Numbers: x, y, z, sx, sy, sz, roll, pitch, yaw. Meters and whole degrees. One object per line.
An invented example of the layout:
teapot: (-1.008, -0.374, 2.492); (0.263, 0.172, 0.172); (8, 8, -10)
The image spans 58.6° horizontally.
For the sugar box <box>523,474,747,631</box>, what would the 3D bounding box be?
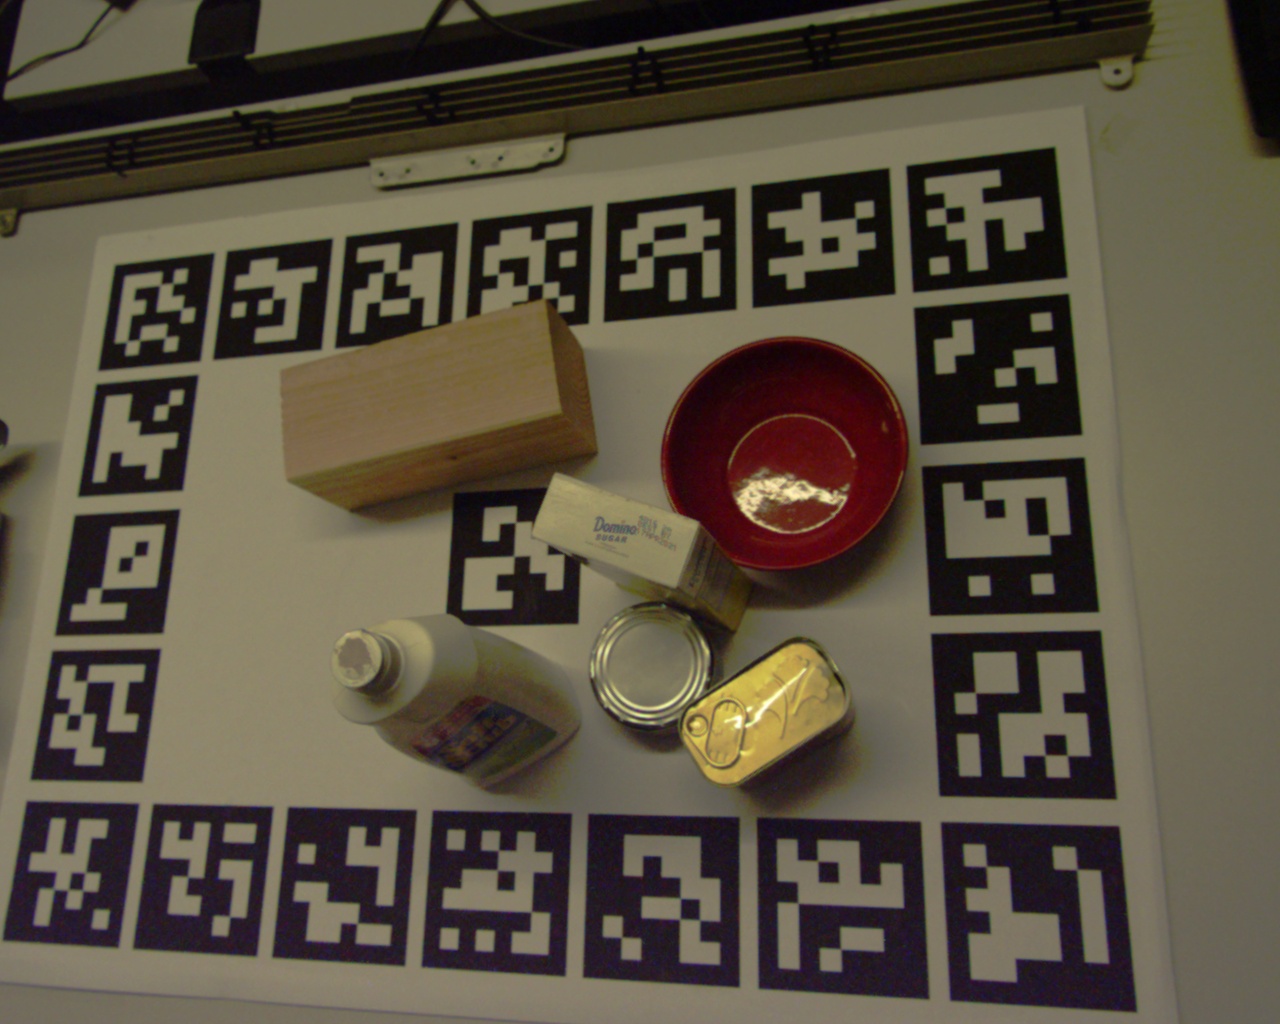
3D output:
sugar box: (0.002, 0.030, 0.734); (0.094, 0.174, 0.045); (18, 82, 23)

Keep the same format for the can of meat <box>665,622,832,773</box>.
can of meat: (0.075, 0.124, 0.741); (0.102, 0.083, 0.058); (-32, 65, 3)

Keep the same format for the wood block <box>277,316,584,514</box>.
wood block: (-0.158, -0.069, 0.862); (0.207, 0.089, 0.091); (-12, 75, 11)

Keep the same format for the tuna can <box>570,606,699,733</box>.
tuna can: (-0.003, 0.109, 0.787); (0.086, 0.033, 0.086); (-4, 76, 16)

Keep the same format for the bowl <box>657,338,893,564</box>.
bowl: (0.096, -0.037, 0.794); (0.163, 0.054, 0.162); (-6, 72, 18)

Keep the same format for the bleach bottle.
bleach bottle: (-0.126, 0.110, 0.711); (0.103, 0.248, 0.068); (-28, 68, 6)
